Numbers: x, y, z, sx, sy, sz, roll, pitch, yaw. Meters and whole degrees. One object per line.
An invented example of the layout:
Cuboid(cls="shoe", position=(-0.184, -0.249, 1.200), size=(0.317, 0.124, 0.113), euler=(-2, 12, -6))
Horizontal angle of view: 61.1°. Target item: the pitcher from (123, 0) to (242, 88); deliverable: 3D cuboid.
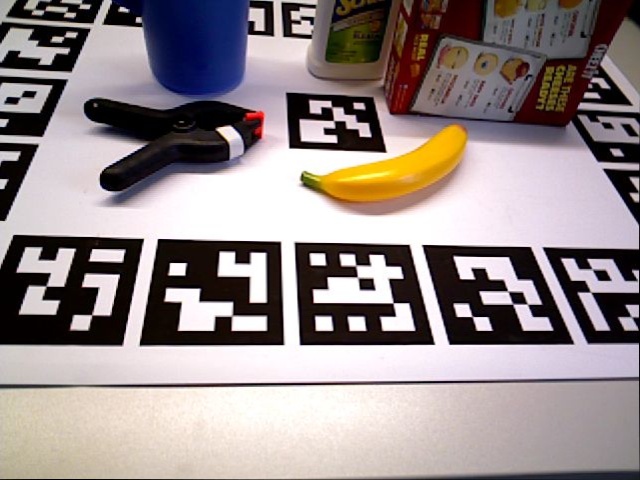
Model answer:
Cuboid(cls="pitcher", position=(-0.139, -0.275, 0.511), size=(0.185, 0.248, 0.132), euler=(-13, 49, -24))

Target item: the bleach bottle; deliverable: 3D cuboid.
Cuboid(cls="bleach bottle", position=(0.037, -0.291, 0.579), size=(0.102, 0.257, 0.067), euler=(0, 46, -9))

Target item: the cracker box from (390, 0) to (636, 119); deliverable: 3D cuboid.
Cuboid(cls="cracker box", position=(0.195, -0.219, 0.572), size=(0.212, 0.168, 0.071), euler=(0, 44, -6))

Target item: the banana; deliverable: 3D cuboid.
Cuboid(cls="banana", position=(0.091, -0.071, 0.537), size=(0.193, 0.040, 0.074), euler=(-29, 56, -30))

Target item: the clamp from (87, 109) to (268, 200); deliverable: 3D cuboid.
Cuboid(cls="clamp", position=(-0.127, -0.093, 0.516), size=(0.162, 0.037, 0.121), euler=(-12, 48, -21))
